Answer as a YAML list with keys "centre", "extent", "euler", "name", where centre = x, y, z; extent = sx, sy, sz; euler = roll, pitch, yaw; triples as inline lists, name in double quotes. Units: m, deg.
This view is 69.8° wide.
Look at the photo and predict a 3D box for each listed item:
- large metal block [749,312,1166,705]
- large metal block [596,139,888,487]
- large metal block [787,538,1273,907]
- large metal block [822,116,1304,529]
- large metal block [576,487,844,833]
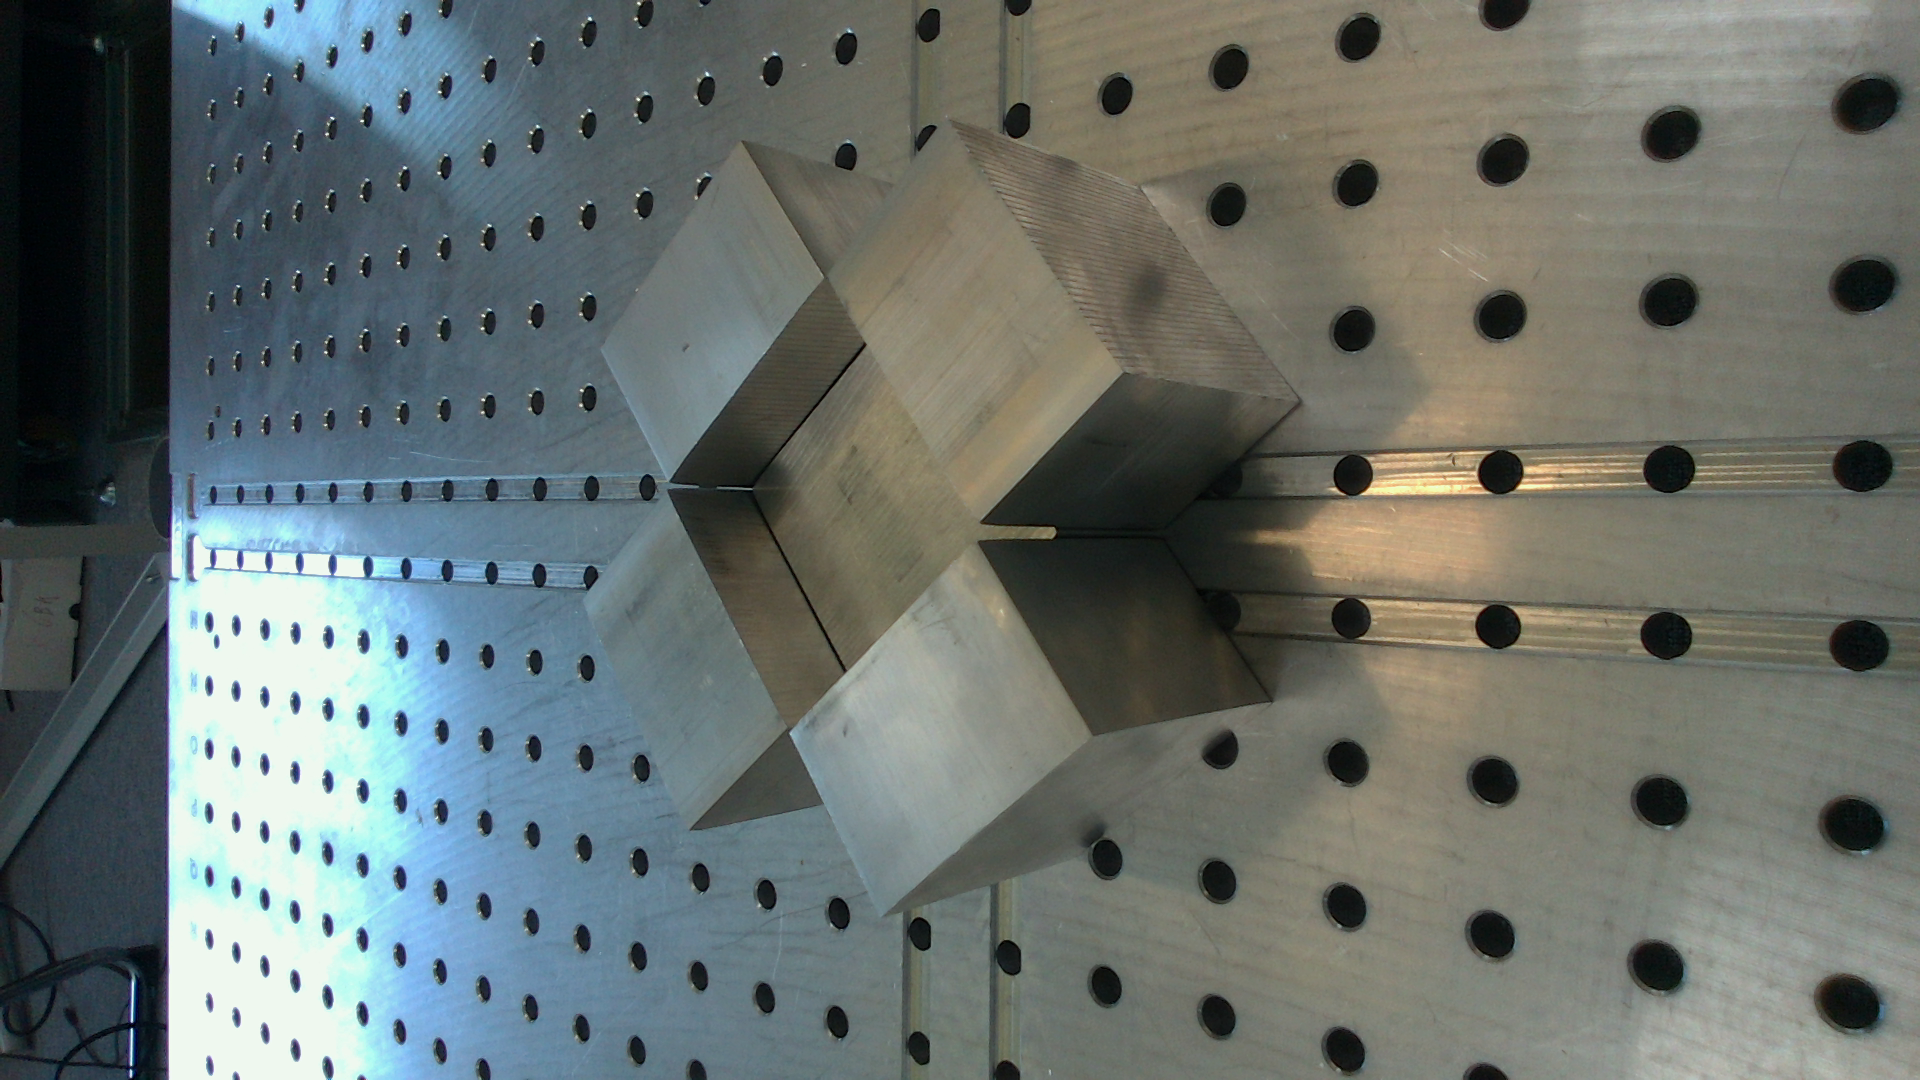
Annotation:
- centre: [-0.004, -0.008, 0.383]
  extent: [0.080, 0.050, 0.080]
  euler: [-47, 60, 32]
  name: "large metal block"
- centre: [-0.044, -0.060, 0.399]
  extent: [0.080, 0.080, 0.050]
  euler: [-46, 62, 30]
  name: "large metal block"
- centre: [0.018, 0.044, 0.348]
  extent: [0.080, 0.080, 0.050]
  euler: [-45, 63, 31]
  name: "large metal block"
- centre: [0.026, -0.050, 0.340]
  extent: [0.050, 0.080, 0.080]
  euler: [-46, 63, 30]
  name: "large metal block"
- centre: [-0.053, 0.032, 0.406]
  extent: [0.050, 0.080, 0.080]
  euler: [-46, 63, 30]
  name: "large metal block"
